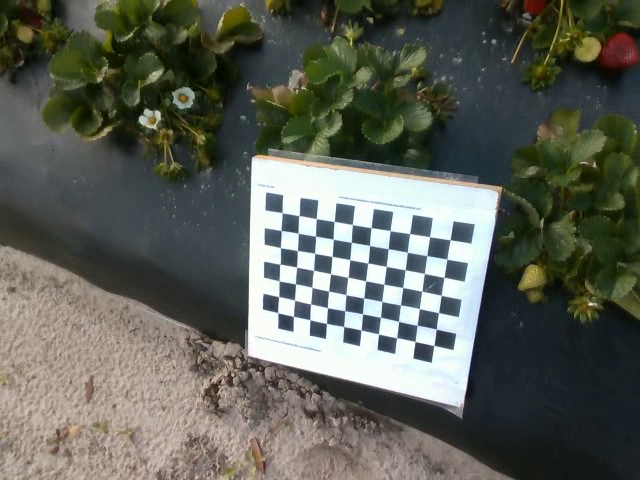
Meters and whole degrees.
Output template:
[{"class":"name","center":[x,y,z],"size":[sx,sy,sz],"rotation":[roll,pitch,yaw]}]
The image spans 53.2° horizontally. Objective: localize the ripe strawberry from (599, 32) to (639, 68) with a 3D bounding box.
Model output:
[{"class":"ripe strawberry","center":[0.395,-0.246,0.838],"size":[0.048,0.051,0.055],"rotation":[23,32,-27]}]
